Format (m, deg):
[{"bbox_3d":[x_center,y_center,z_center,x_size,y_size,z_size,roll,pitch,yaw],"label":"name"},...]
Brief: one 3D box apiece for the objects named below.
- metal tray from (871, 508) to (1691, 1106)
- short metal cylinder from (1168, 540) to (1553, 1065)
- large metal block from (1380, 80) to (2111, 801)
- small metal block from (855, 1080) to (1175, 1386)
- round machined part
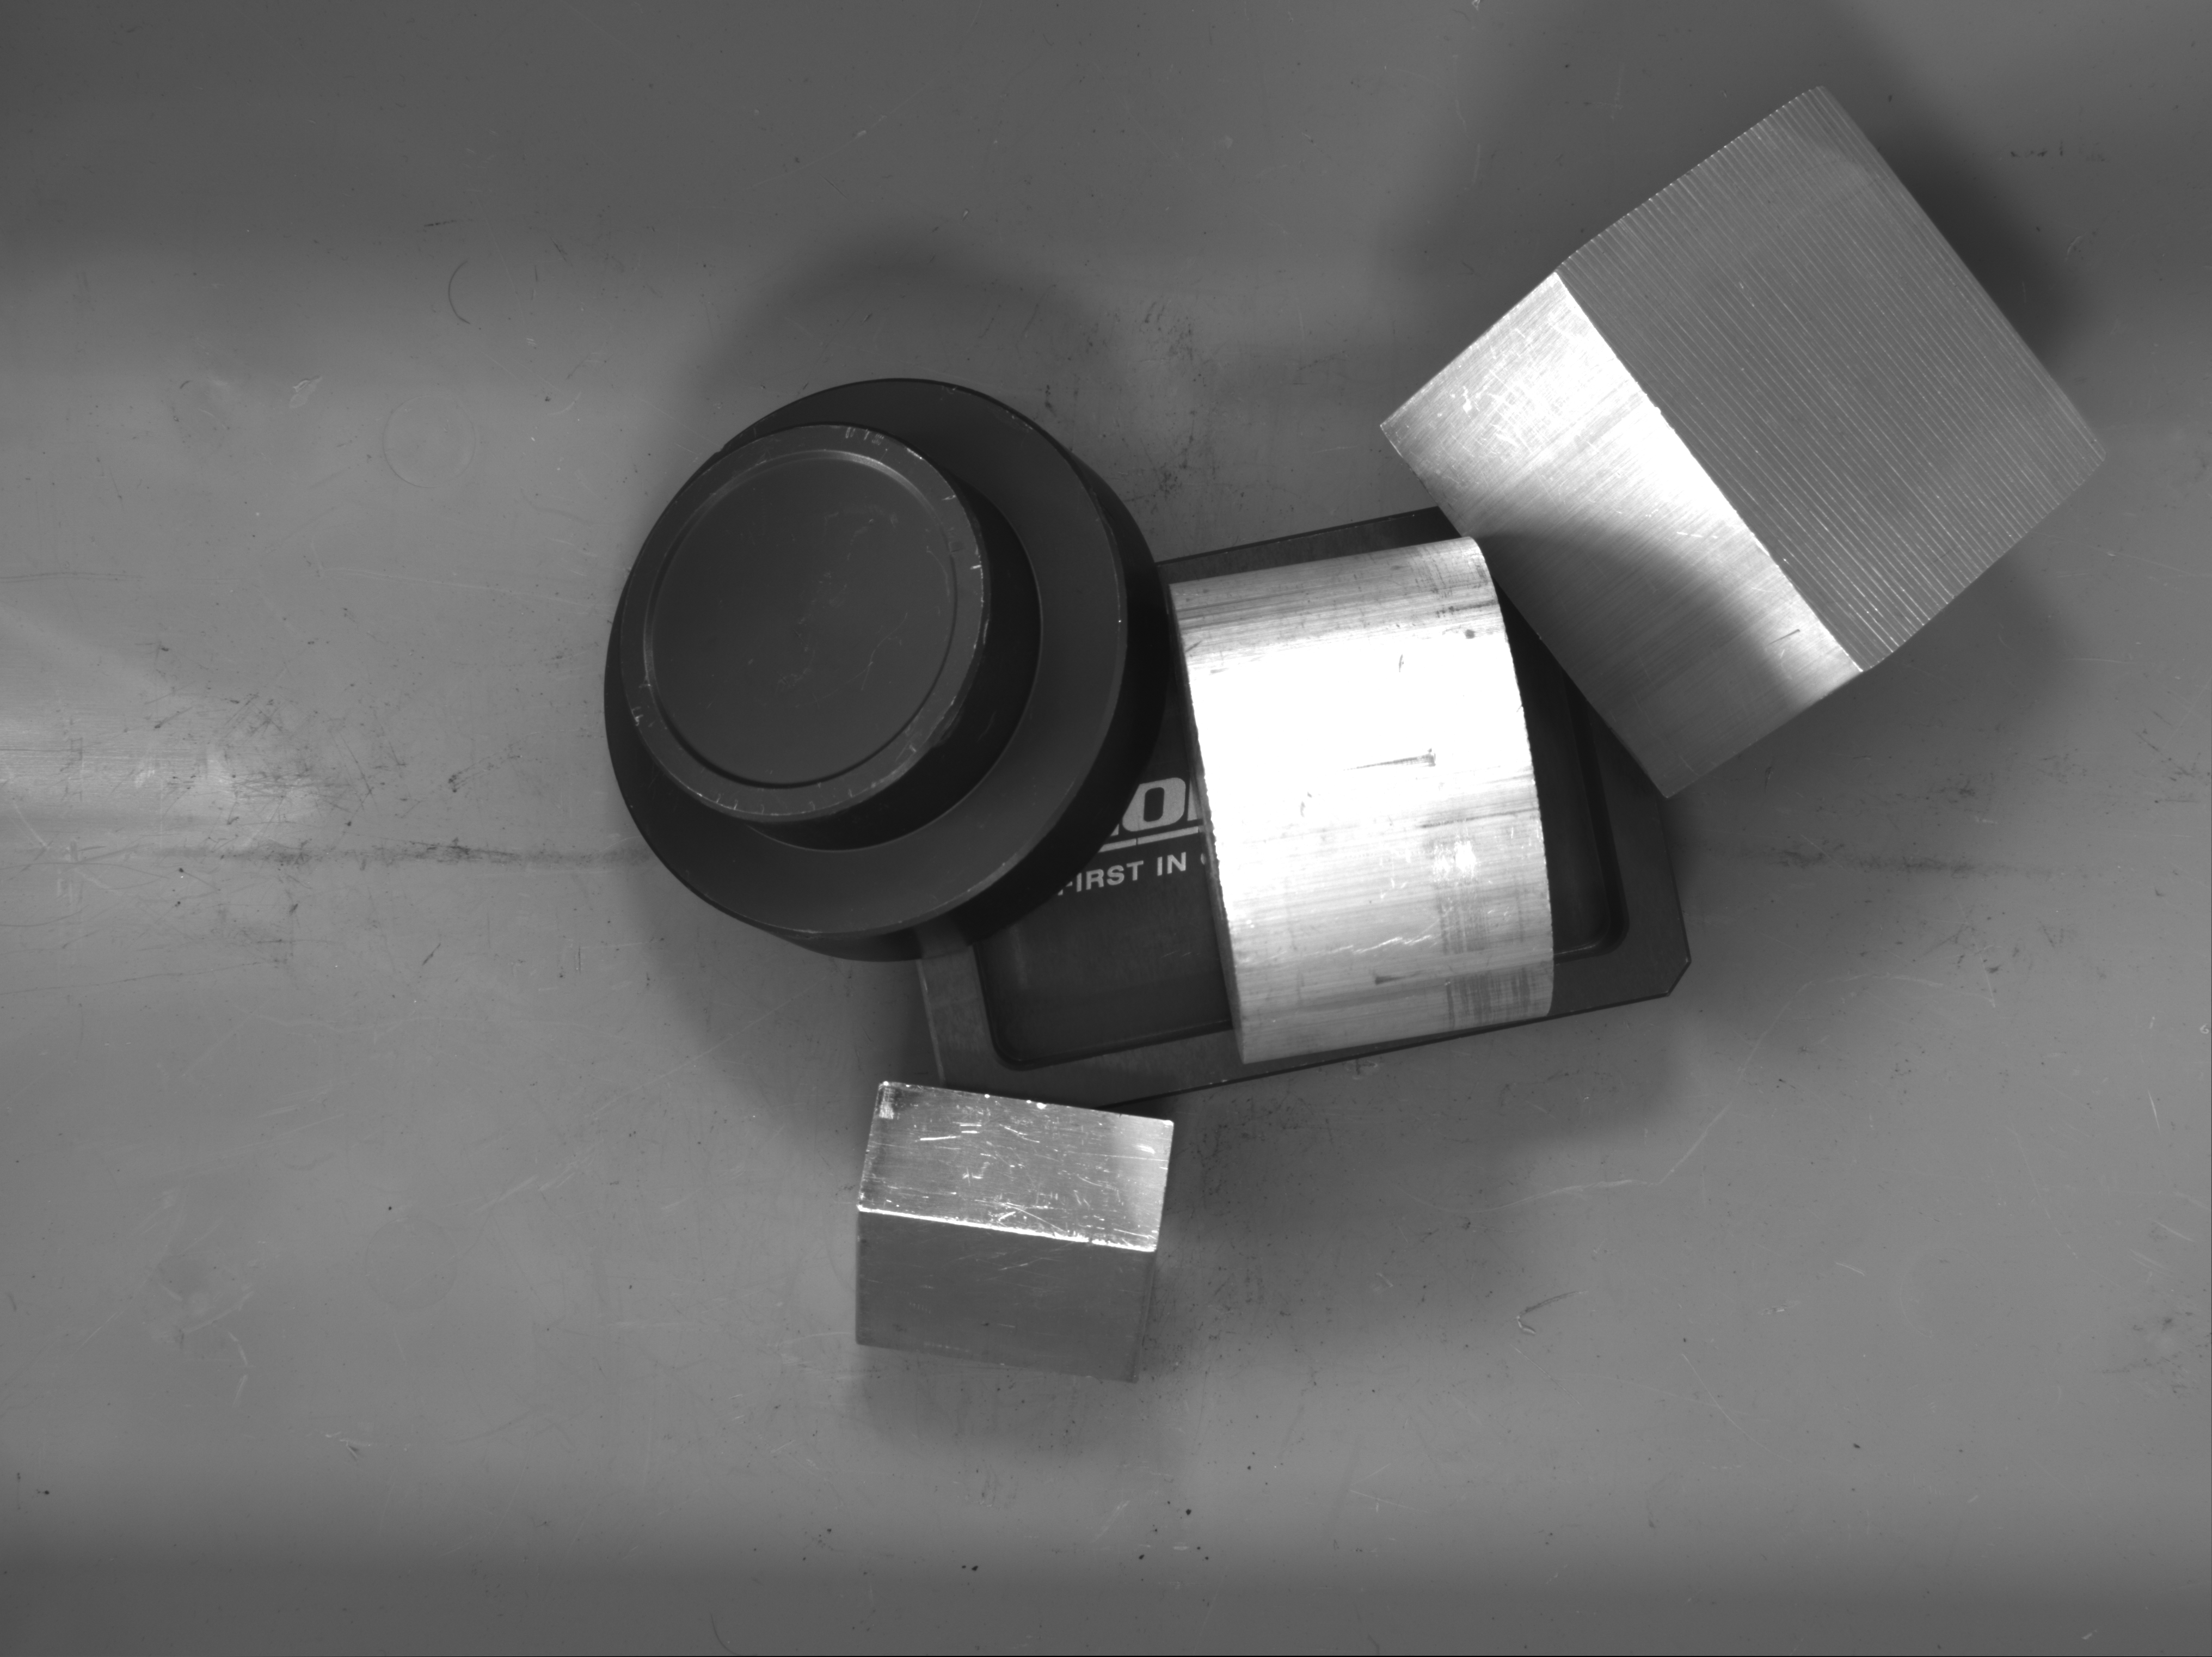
[{"bbox_3d":[0.029,-0.003,0.644,0.130,0.030,0.090,-11,90,0],"label":"metal tray"},{"bbox_3d":[0.041,-0.004,0.605,0.050,0.080,0.080,-9,90,0],"label":"short metal cylinder"},{"bbox_3d":[0.107,-0.065,0.613,0.080,0.050,0.080,-38,90,-36],"label":"large metal block"},{"bbox_3d":[-0.016,0.070,0.630,0.050,0.050,0.025,8,56,1],"label":"small metal block"},{"bbox_3d":[-0.042,-0.029,0.617,0.098,0.042,0.098,-6,74,22],"label":"round machined part"}]
